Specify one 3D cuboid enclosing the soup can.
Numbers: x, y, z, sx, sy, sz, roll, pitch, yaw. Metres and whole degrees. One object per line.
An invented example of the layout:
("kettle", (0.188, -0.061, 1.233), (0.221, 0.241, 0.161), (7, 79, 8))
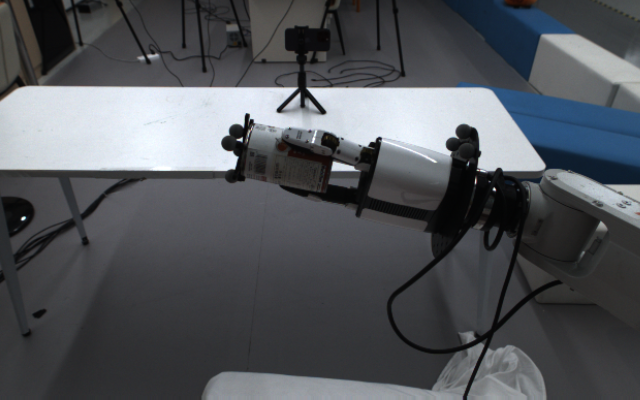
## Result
("soup can", (-0.034, -0.049, 0.577), (0.101, 0.067, 0.067), (11, 35, -2))
